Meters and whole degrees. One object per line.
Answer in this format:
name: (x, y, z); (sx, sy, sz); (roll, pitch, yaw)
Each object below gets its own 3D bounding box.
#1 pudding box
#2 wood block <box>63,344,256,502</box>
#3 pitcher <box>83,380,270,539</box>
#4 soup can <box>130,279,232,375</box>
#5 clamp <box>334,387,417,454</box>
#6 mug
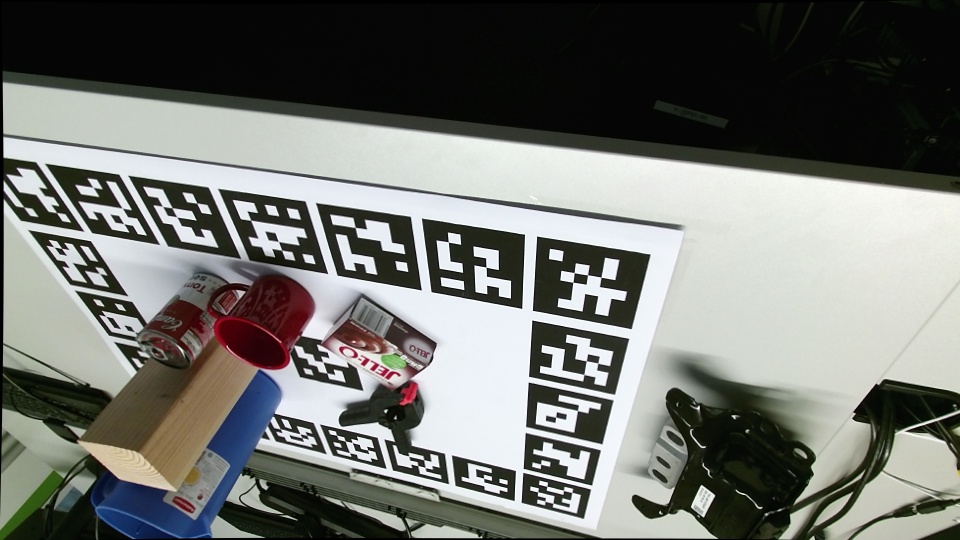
pudding box: (-0.122, 0.098, 0.651); (0.114, 0.038, 0.090); (35, 129, -15)
wood block: (-0.386, 0.166, 0.678); (0.090, 0.205, 0.091); (8, 132, 16)
pitcher: (-0.411, 0.264, 0.752); (0.189, 0.241, 0.133); (6, 134, 10)
soup can: (-0.359, 0.068, 0.653); (0.068, 0.101, 0.068); (9, 130, 11)
clamp: (-0.137, 0.213, 0.766); (0.122, 0.036, 0.165); (34, 132, -3)
mug: (-0.267, 0.058, 0.630); (0.117, 0.081, 0.093); (34, 134, -14)
